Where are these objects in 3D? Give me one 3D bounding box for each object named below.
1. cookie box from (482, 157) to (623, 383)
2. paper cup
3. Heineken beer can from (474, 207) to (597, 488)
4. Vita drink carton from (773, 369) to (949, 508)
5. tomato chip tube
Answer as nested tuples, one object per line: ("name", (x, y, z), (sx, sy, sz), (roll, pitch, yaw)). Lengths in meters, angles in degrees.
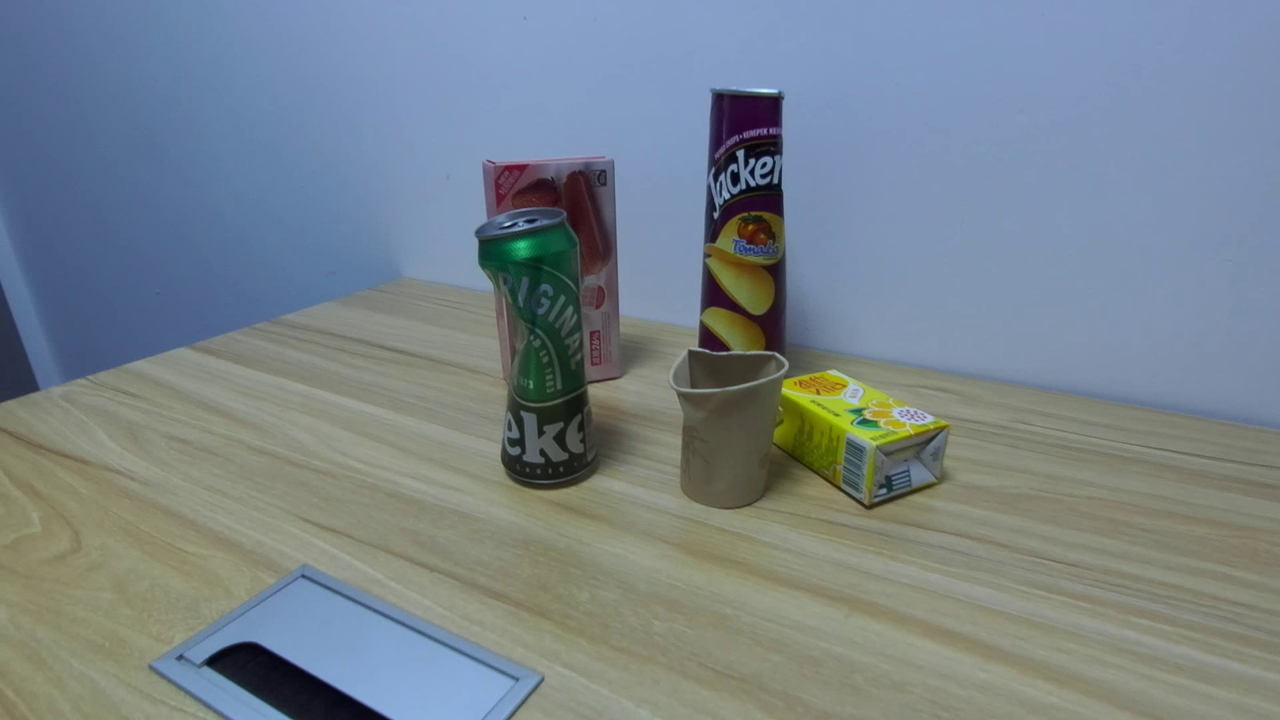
("cookie box", (-0.069, -0.071, 0.585), (0.096, 0.185, 0.048), (-9, 21, -18))
("paper cup", (0.053, 0.042, 0.431), (0.071, 0.084, 0.066), (1, 21, 7))
("Heineken beer can", (-0.066, -0.005, 0.449), (0.069, 0.168, 0.068), (7, 24, 27))
("Vita drink carton", (0.140, 0.048, 0.475), (0.067, 0.043, 0.108), (-9, 22, -26))
("tomato chip tube", (0.084, -0.085, 0.551), (0.076, 0.235, 0.078), (12, 23, 29))
